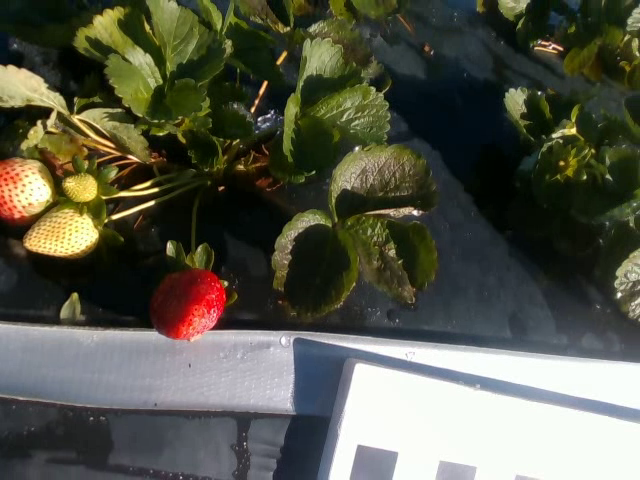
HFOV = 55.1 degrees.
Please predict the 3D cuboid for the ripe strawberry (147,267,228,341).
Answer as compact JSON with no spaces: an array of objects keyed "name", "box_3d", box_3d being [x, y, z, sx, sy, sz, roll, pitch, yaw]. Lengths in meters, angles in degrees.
[{"name":"ripe strawberry","box_3d":[-0.056,0.030,0.250,0.036,0.038,0.045,12,10,-9]}]
